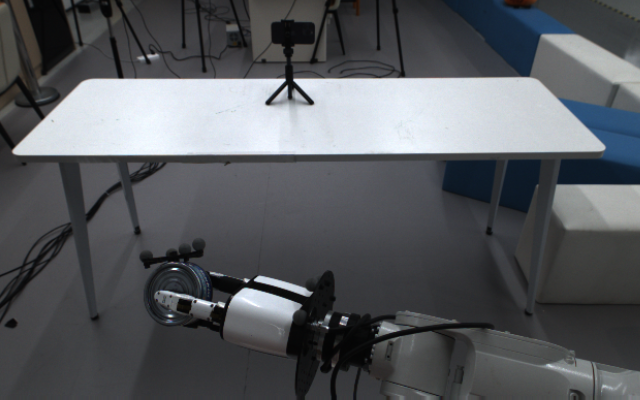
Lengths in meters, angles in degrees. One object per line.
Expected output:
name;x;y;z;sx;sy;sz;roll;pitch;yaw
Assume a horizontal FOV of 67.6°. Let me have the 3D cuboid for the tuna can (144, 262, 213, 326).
tuna can;-0.186;0.131;0.641;0.085;0.085;0.034;12;-6;15
